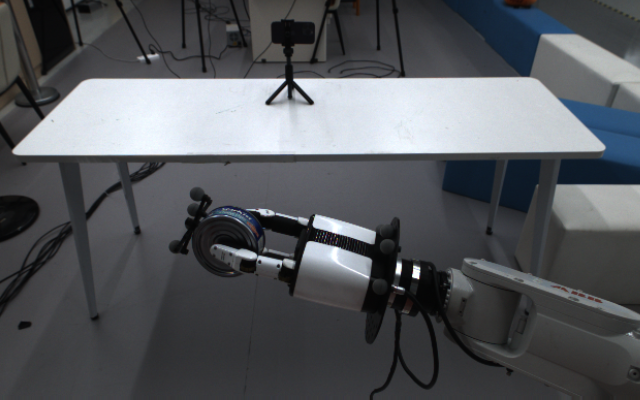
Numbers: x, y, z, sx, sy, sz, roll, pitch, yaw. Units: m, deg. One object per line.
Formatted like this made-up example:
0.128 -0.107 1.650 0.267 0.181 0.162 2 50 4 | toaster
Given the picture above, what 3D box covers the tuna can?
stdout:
-0.109 0.058 0.598 0.085 0.085 0.034 6 20 5 | tuna can
